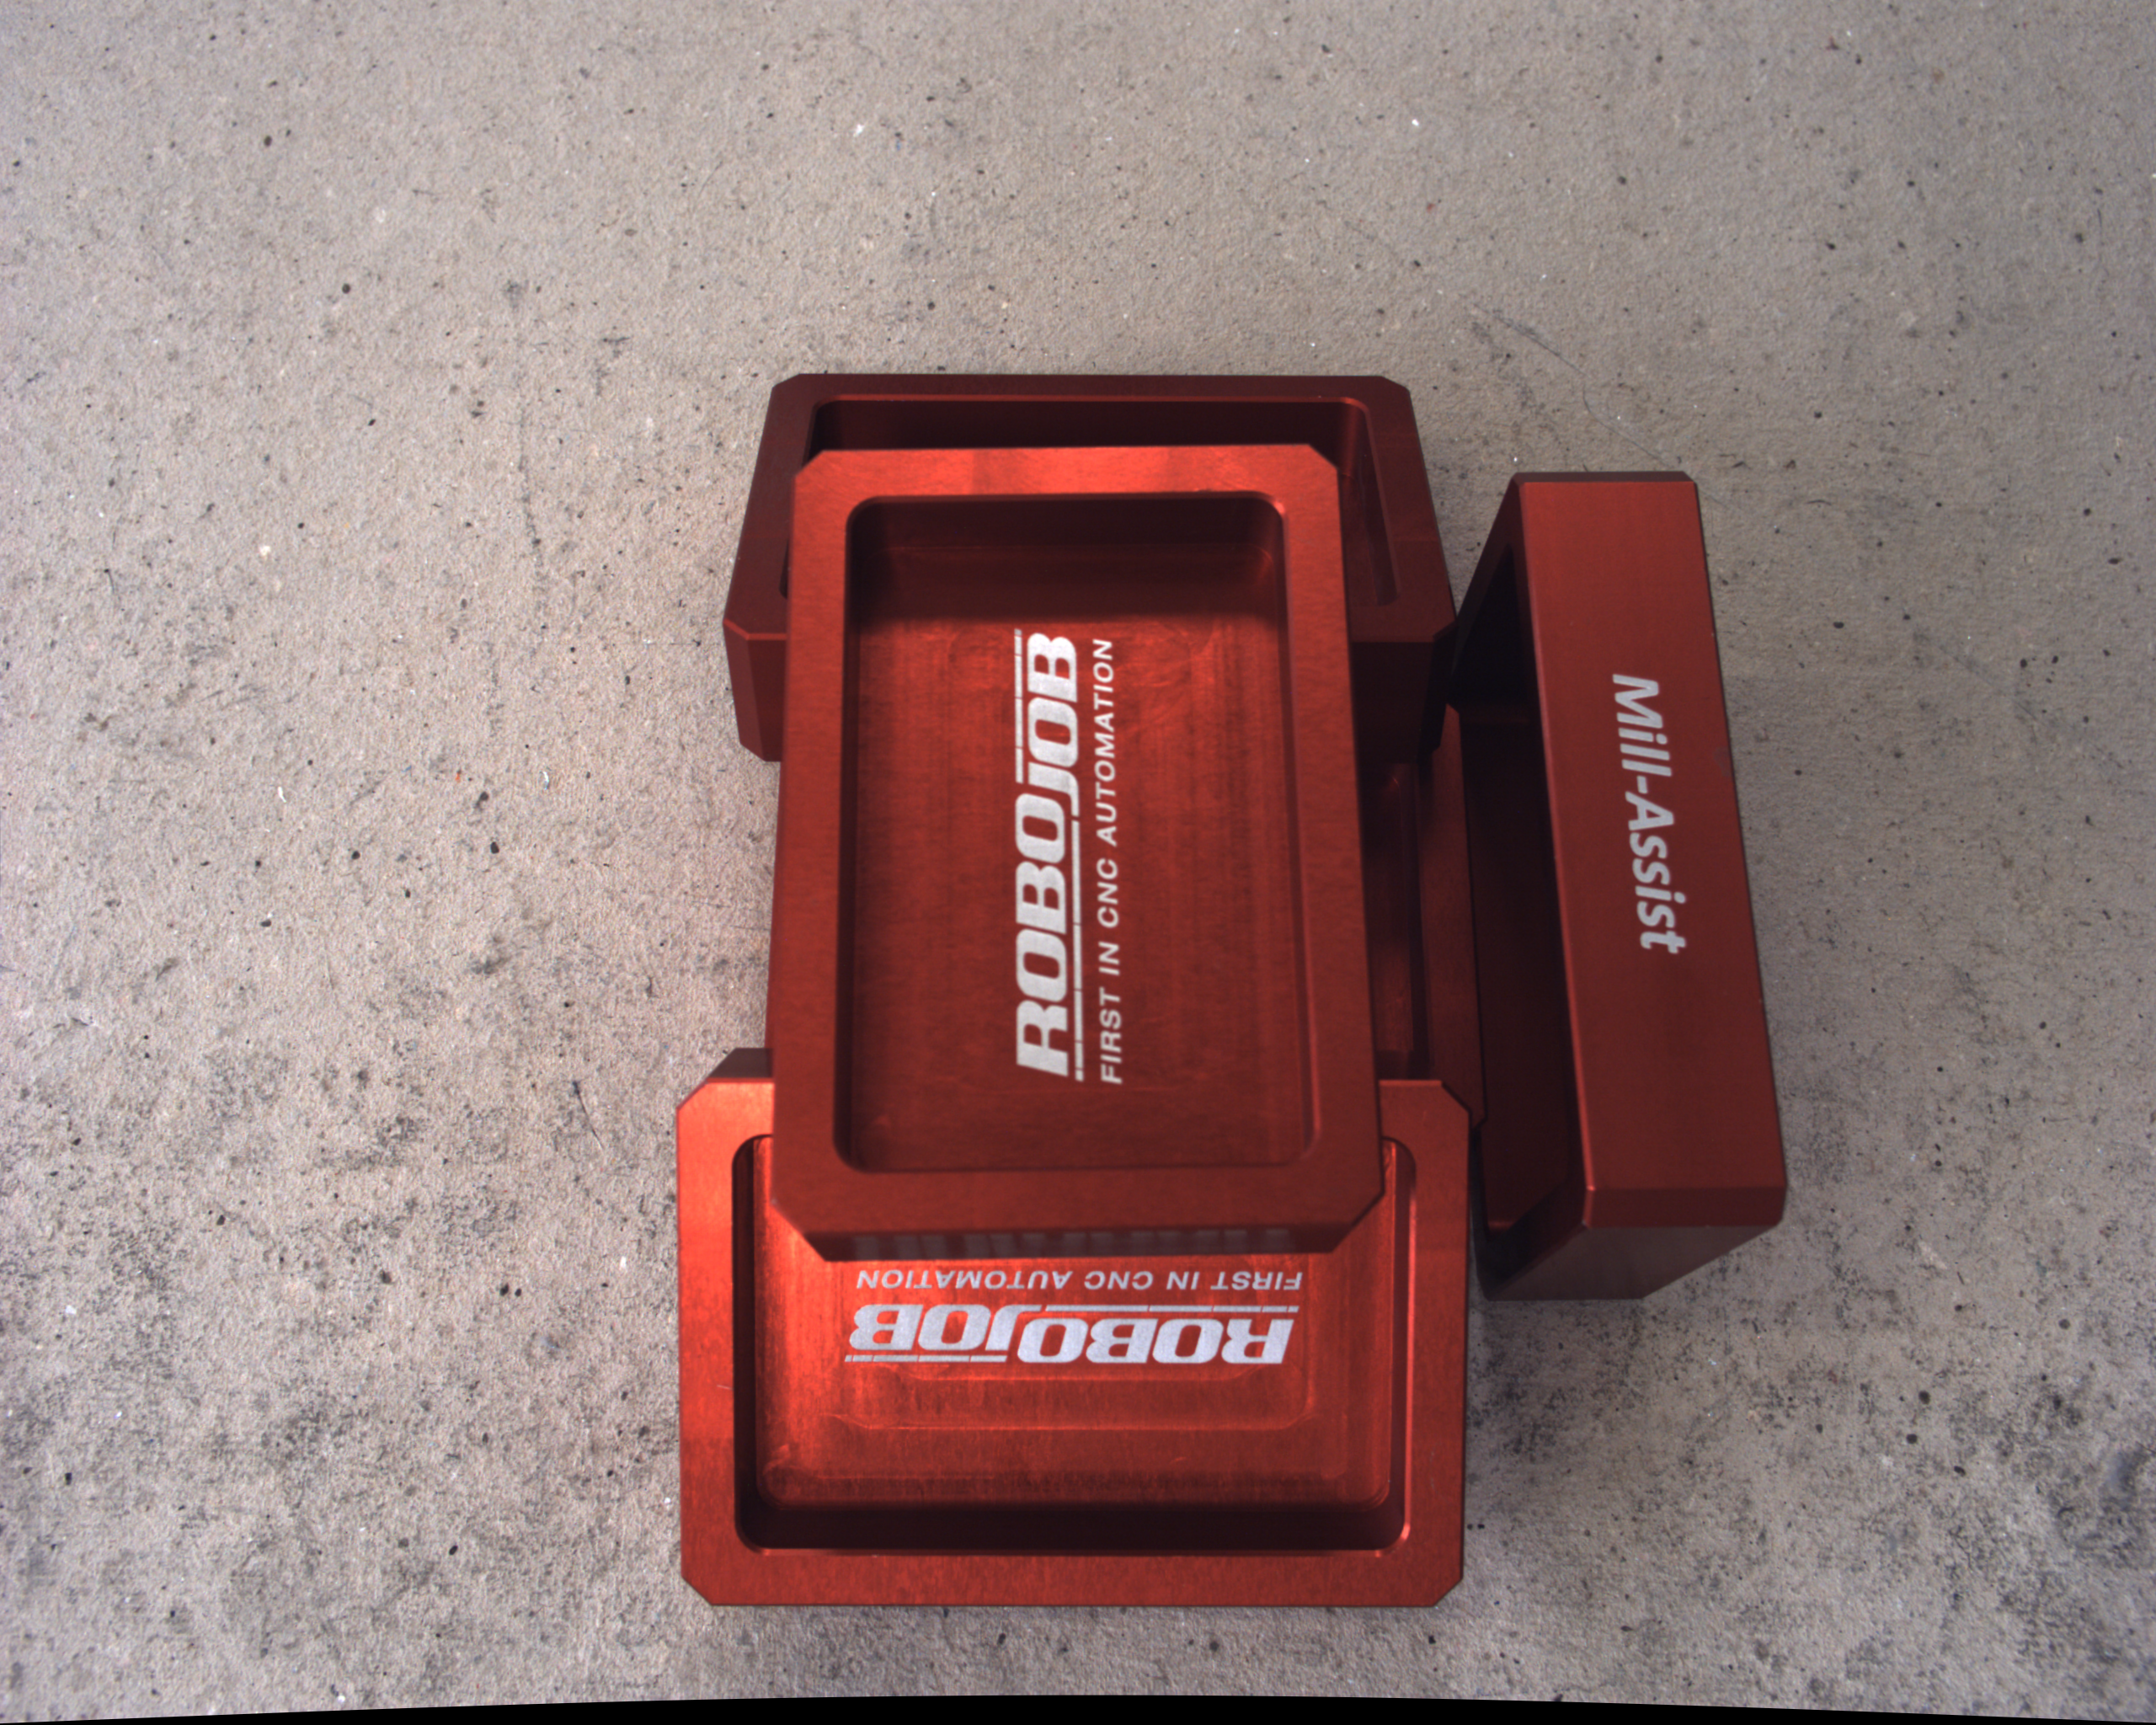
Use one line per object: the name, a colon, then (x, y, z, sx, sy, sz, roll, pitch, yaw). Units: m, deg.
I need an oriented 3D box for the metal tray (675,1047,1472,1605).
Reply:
metal tray: (-0.001, 0.079, 0.359, 0.131, 0.030, 0.089, 0, 95, 0)

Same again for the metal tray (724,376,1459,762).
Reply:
metal tray: (0.002, -0.060, 0.410, 0.131, 0.030, 0.090, 0, 43, -1)

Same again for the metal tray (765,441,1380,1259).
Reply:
metal tray: (-0.002, -0.003, 0.339, 0.091, 0.030, 0.129, -1, 72, 0)

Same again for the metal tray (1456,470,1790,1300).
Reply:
metal tray: (0.090, 0.007, 0.372, 0.030, 0.090, 0.130, -1, 70, 0)

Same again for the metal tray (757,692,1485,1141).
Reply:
metal tray: (0.007, 0.012, 0.400, 0.131, 0.030, 0.090, -1, 72, 0)
